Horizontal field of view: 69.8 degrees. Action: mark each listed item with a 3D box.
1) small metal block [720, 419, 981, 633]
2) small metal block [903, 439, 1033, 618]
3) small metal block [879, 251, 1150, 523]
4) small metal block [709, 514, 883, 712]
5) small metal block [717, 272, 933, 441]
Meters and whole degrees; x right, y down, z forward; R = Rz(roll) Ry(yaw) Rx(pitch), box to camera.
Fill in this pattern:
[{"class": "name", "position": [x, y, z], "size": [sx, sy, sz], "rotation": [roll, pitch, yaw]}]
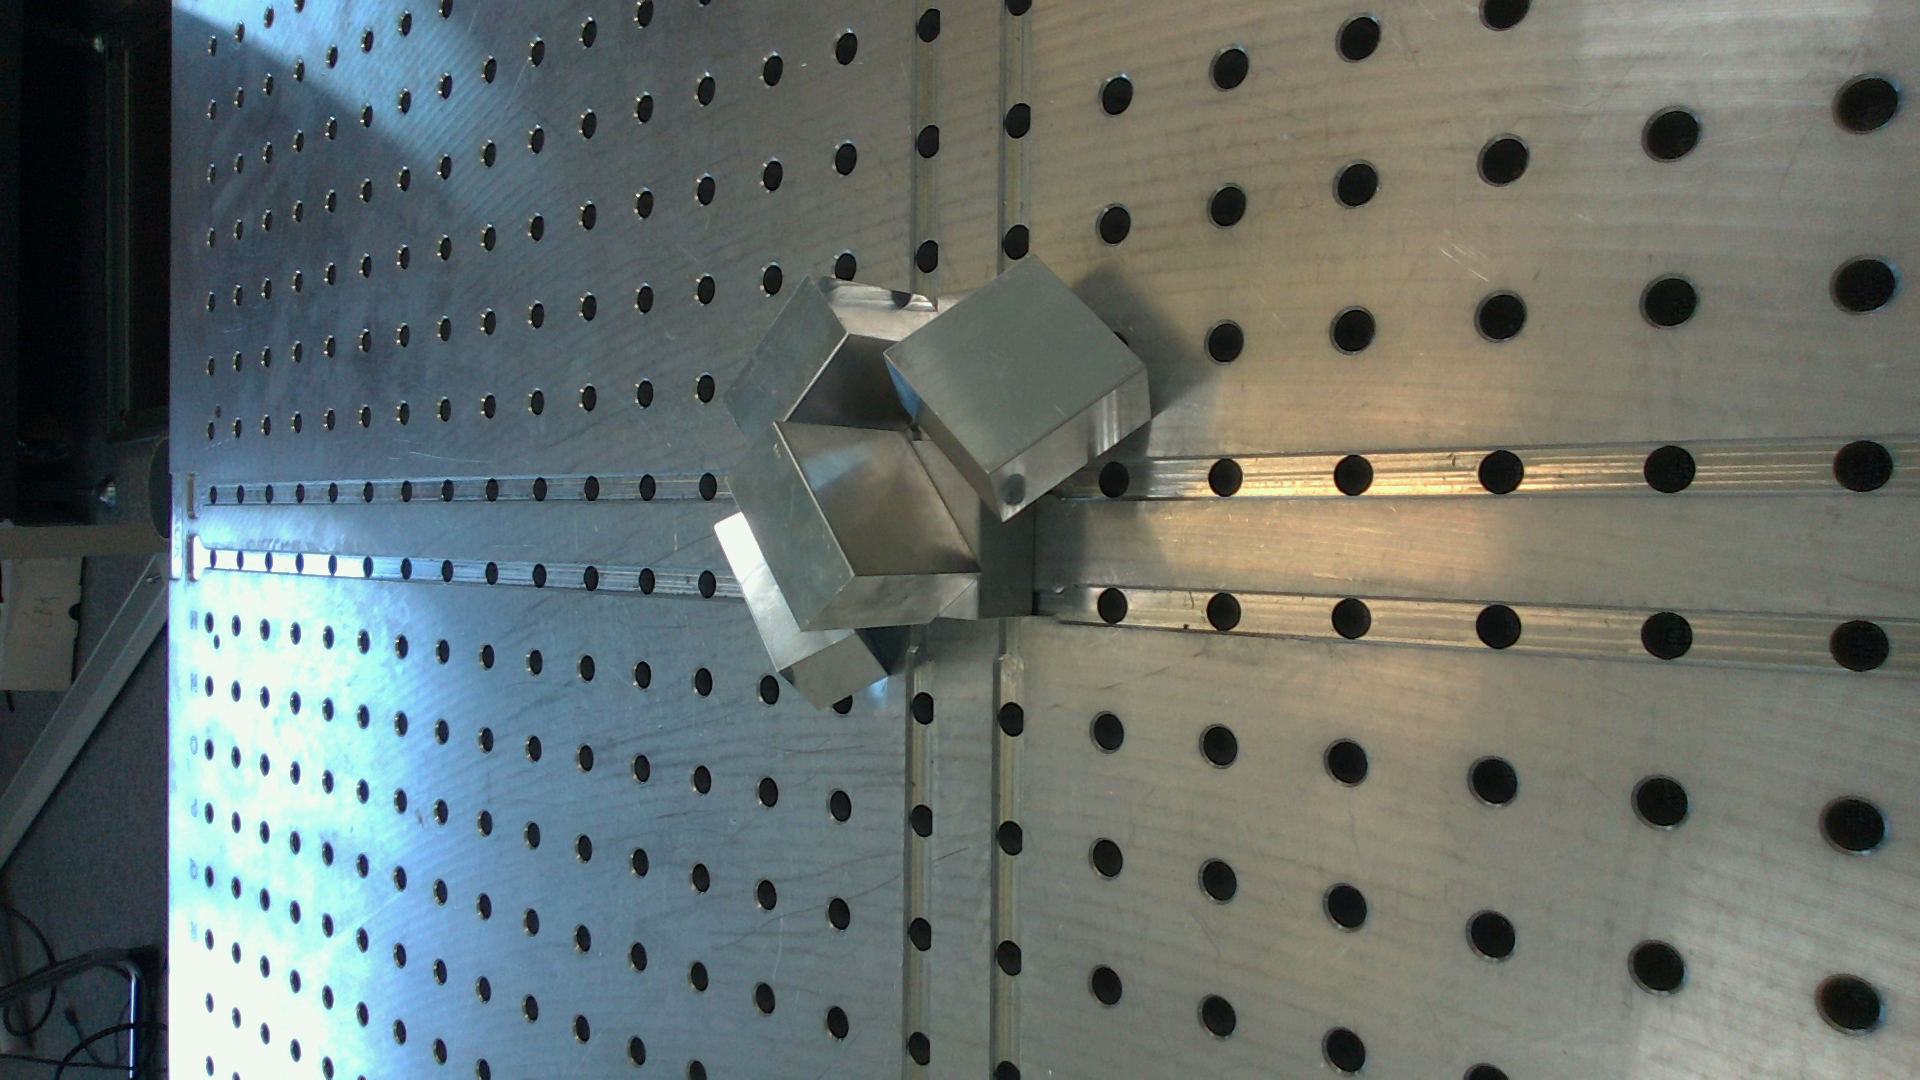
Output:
[{"class": "small metal block", "position": [-0.029, -0.004, 0.373], "size": [0.025, 0.050, 0.050], "rotation": [-43, 64, 31]}, {"class": "small metal block", "position": [-0.006, -0.004, 0.403], "size": [0.050, 0.025, 0.050], "rotation": [1, 90, 39]}, {"class": "small metal block", "position": [0.015, -0.041, 0.368], "size": [0.050, 0.025, 0.050], "rotation": [-35, 61, -9]}, {"class": "small metal block", "position": [-0.049, 0.020, 0.419], "size": [0.025, 0.050, 0.050], "rotation": [-26, 69, -2]}, {"class": "small metal block", "position": [-0.036, -0.049, 0.412], "size": [0.050, 0.050, 0.025], "rotation": [-49, 61, 29]}]
